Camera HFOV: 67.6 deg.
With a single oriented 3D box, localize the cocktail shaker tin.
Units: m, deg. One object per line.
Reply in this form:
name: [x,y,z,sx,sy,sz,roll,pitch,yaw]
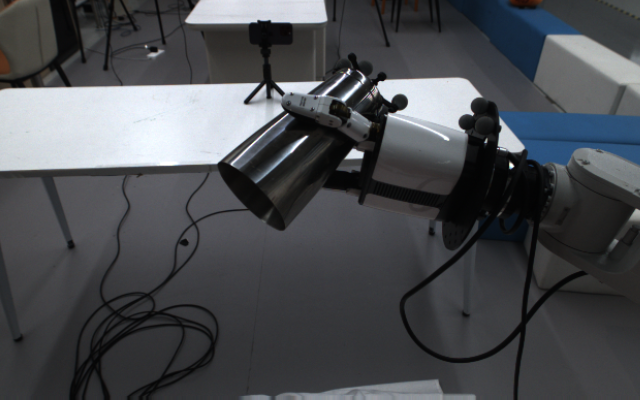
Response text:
cocktail shaker tin: [-0.011,-0.064,0.501,0.093,0.093,0.170,32,66,35]
